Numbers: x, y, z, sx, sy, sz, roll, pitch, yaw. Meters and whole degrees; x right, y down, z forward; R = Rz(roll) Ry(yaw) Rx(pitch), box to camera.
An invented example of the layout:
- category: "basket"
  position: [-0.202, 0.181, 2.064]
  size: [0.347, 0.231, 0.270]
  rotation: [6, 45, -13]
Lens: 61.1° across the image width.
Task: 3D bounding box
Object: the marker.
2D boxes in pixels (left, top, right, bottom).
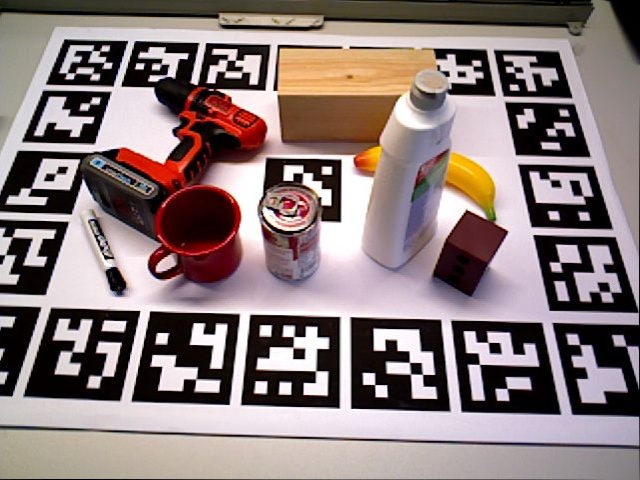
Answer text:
- category: "marker"
  position: [-0.264, 0.017, 0.632]
  size: [0.019, 0.020, 0.120]
  rotation: [-25, 62, -14]

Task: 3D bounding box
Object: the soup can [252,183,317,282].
- category: "soup can"
  position: [-0.039, -0.009, 0.591]
  size: [0.067, 0.104, 0.067]
  rotation: [1, 53, -3]

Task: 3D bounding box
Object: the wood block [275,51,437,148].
- category: "wood block"
  position: [0.044, -0.185, 0.717]
  size: [0.205, 0.093, 0.088]
  rotation: [1, 58, 0]

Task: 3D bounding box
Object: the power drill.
- category: "power drill"
  position: [-0.192, -0.114, 0.695]
  size: [0.184, 0.058, 0.183]
  rotation: [29, 61, 12]

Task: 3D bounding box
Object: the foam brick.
- category: "foam brick"
  position: [0.162, 0.022, 0.597]
  size: [0.053, 0.079, 0.050]
  rotation: [31, 59, 20]

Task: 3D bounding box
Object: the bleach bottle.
- category: "bleach bottle"
  position: [0.088, -0.068, 0.547]
  size: [0.068, 0.256, 0.100]
  rotation: [27, 59, 16]

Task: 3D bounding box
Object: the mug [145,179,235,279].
- category: "mug"
  position: [-0.148, -0.001, 0.603]
  size: [0.115, 0.083, 0.093]
  rotation: [-41, 69, -20]

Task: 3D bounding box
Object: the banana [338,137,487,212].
- category: "banana"
  position: [0.122, -0.095, 0.688]
  size: [0.197, 0.039, 0.073]
  rotation: [16, 73, 7]
